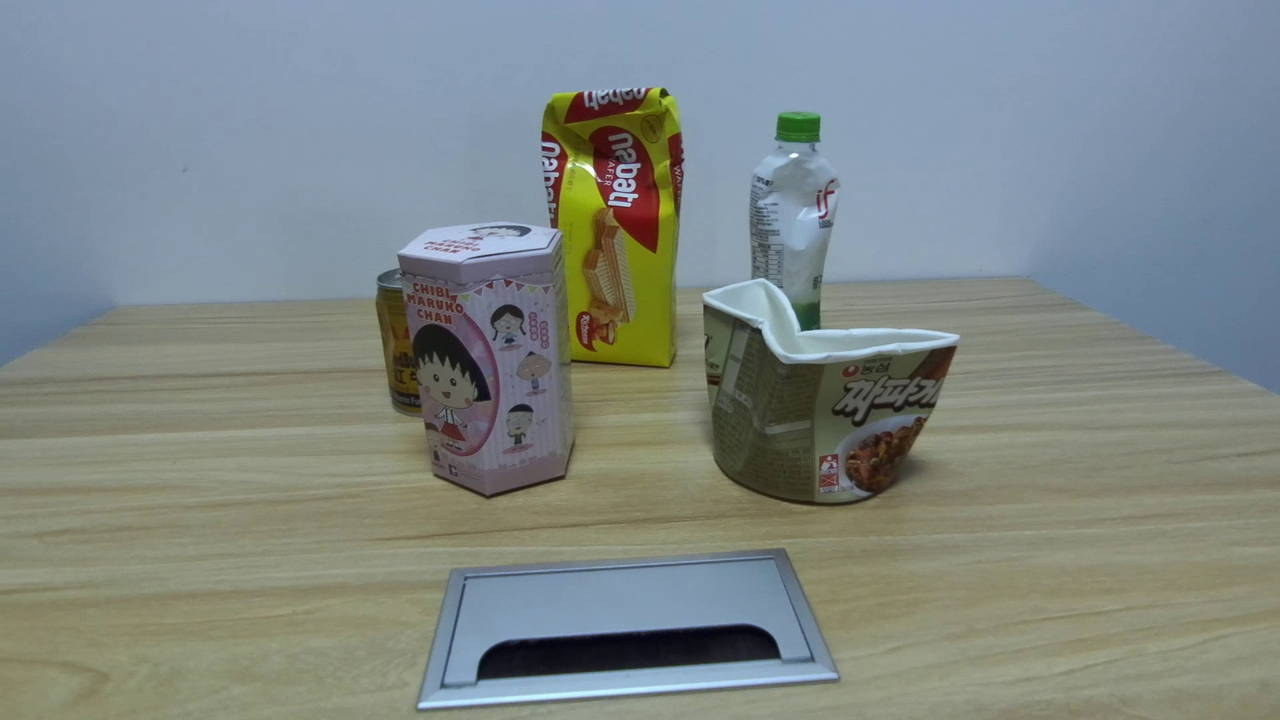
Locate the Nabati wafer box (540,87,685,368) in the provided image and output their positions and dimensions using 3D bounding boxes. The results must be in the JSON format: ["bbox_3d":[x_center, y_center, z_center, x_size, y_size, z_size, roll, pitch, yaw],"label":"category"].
[{"bbox_3d":[-0.019,-0.097,0.541,0.113,0.205,0.042,2,21,11],"label":"Nabati wafer box"}]

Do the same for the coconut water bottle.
[{"bbox_3d":[0.114,-0.089,0.537,0.069,0.187,0.069,1,21,0],"label":"coconut water bottle"}]

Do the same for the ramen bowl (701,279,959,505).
[{"bbox_3d":[0.097,0.013,0.416,0.112,0.093,0.128,-9,25,-17],"label":"ramen bowl"}]

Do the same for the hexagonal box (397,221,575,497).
[{"bbox_3d":[-0.083,-0.002,0.404,0.091,0.136,0.084,13,26,30],"label":"hexagonal box"}]
